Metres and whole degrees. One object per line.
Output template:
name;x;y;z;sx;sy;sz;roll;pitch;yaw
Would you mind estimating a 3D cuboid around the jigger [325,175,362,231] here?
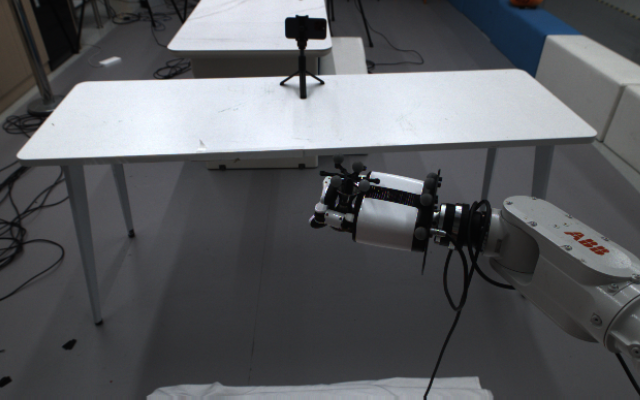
jigger;0.039;0.010;0.741;0.043;0.071;0.043;7;32;-4
